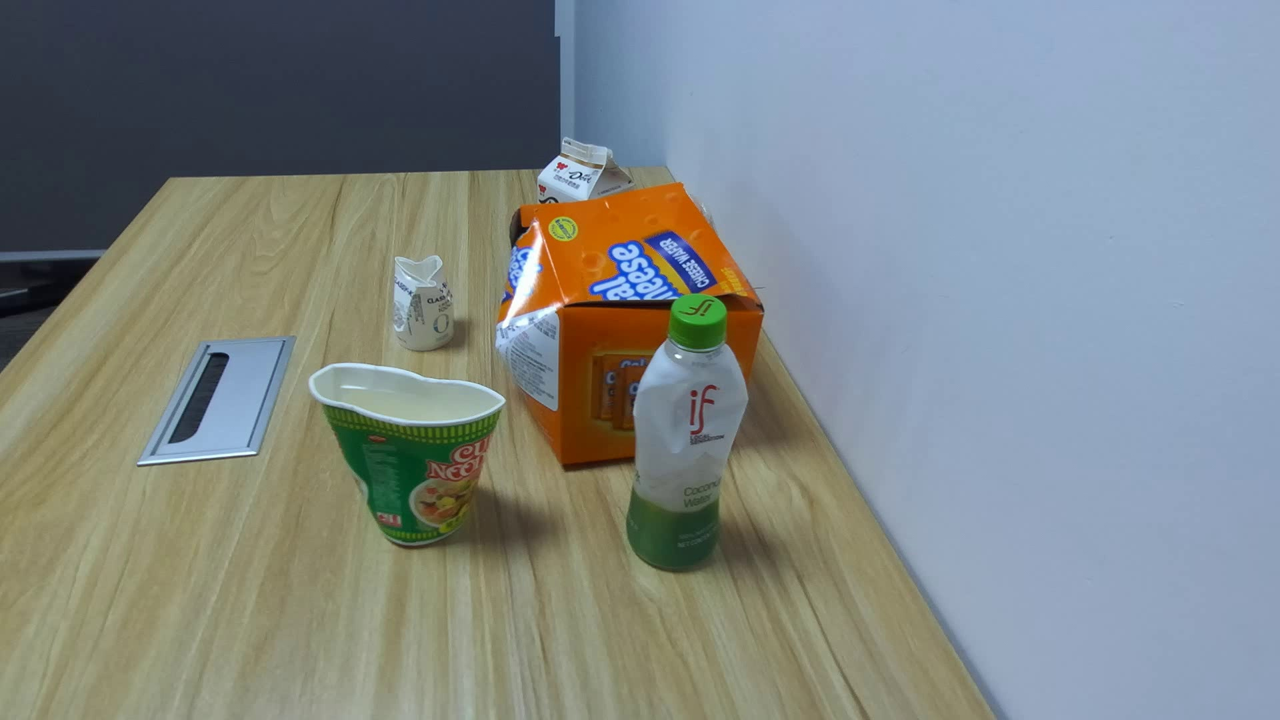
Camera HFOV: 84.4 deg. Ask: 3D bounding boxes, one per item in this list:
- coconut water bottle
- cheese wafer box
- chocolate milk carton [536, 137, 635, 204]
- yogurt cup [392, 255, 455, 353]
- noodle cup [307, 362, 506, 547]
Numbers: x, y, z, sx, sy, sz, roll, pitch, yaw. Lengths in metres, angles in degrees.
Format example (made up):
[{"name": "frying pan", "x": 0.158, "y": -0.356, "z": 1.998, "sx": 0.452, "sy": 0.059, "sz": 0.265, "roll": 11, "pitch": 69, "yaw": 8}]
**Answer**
[{"name": "coconut water bottle", "x": 0.027, "y": 0.046, "z": 0.433, "sx": 0.067, "sy": 0.187, "sz": 0.067, "roll": 3, "pitch": 36, "yaw": -2}, {"name": "cheese wafer box", "x": -0.024, "y": -0.042, "z": 0.592, "sx": 0.192, "sy": 0.145, "sz": 0.218, "roll": -7, "pitch": 38, "yaw": -13}, {"name": "chocolate milk carton", "x": -0.055, "y": -0.156, "z": 0.735, "sx": 0.075, "sy": 0.148, "sz": 0.074, "roll": 31, "pitch": 45, "yaw": 32}, {"name": "yogurt cup", "x": -0.200, "y": -0.052, "z": 0.652, "sx": 0.055, "sy": 0.072, "sz": 0.054, "roll": 0, "pitch": 35, "yaw": -8}, {"name": "noodle cup", "x": -0.150, "y": 0.060, "z": 0.469, "sx": 0.114, "sy": 0.111, "sz": 0.070, "roll": 23, "pitch": 41, "yaw": 24}]
